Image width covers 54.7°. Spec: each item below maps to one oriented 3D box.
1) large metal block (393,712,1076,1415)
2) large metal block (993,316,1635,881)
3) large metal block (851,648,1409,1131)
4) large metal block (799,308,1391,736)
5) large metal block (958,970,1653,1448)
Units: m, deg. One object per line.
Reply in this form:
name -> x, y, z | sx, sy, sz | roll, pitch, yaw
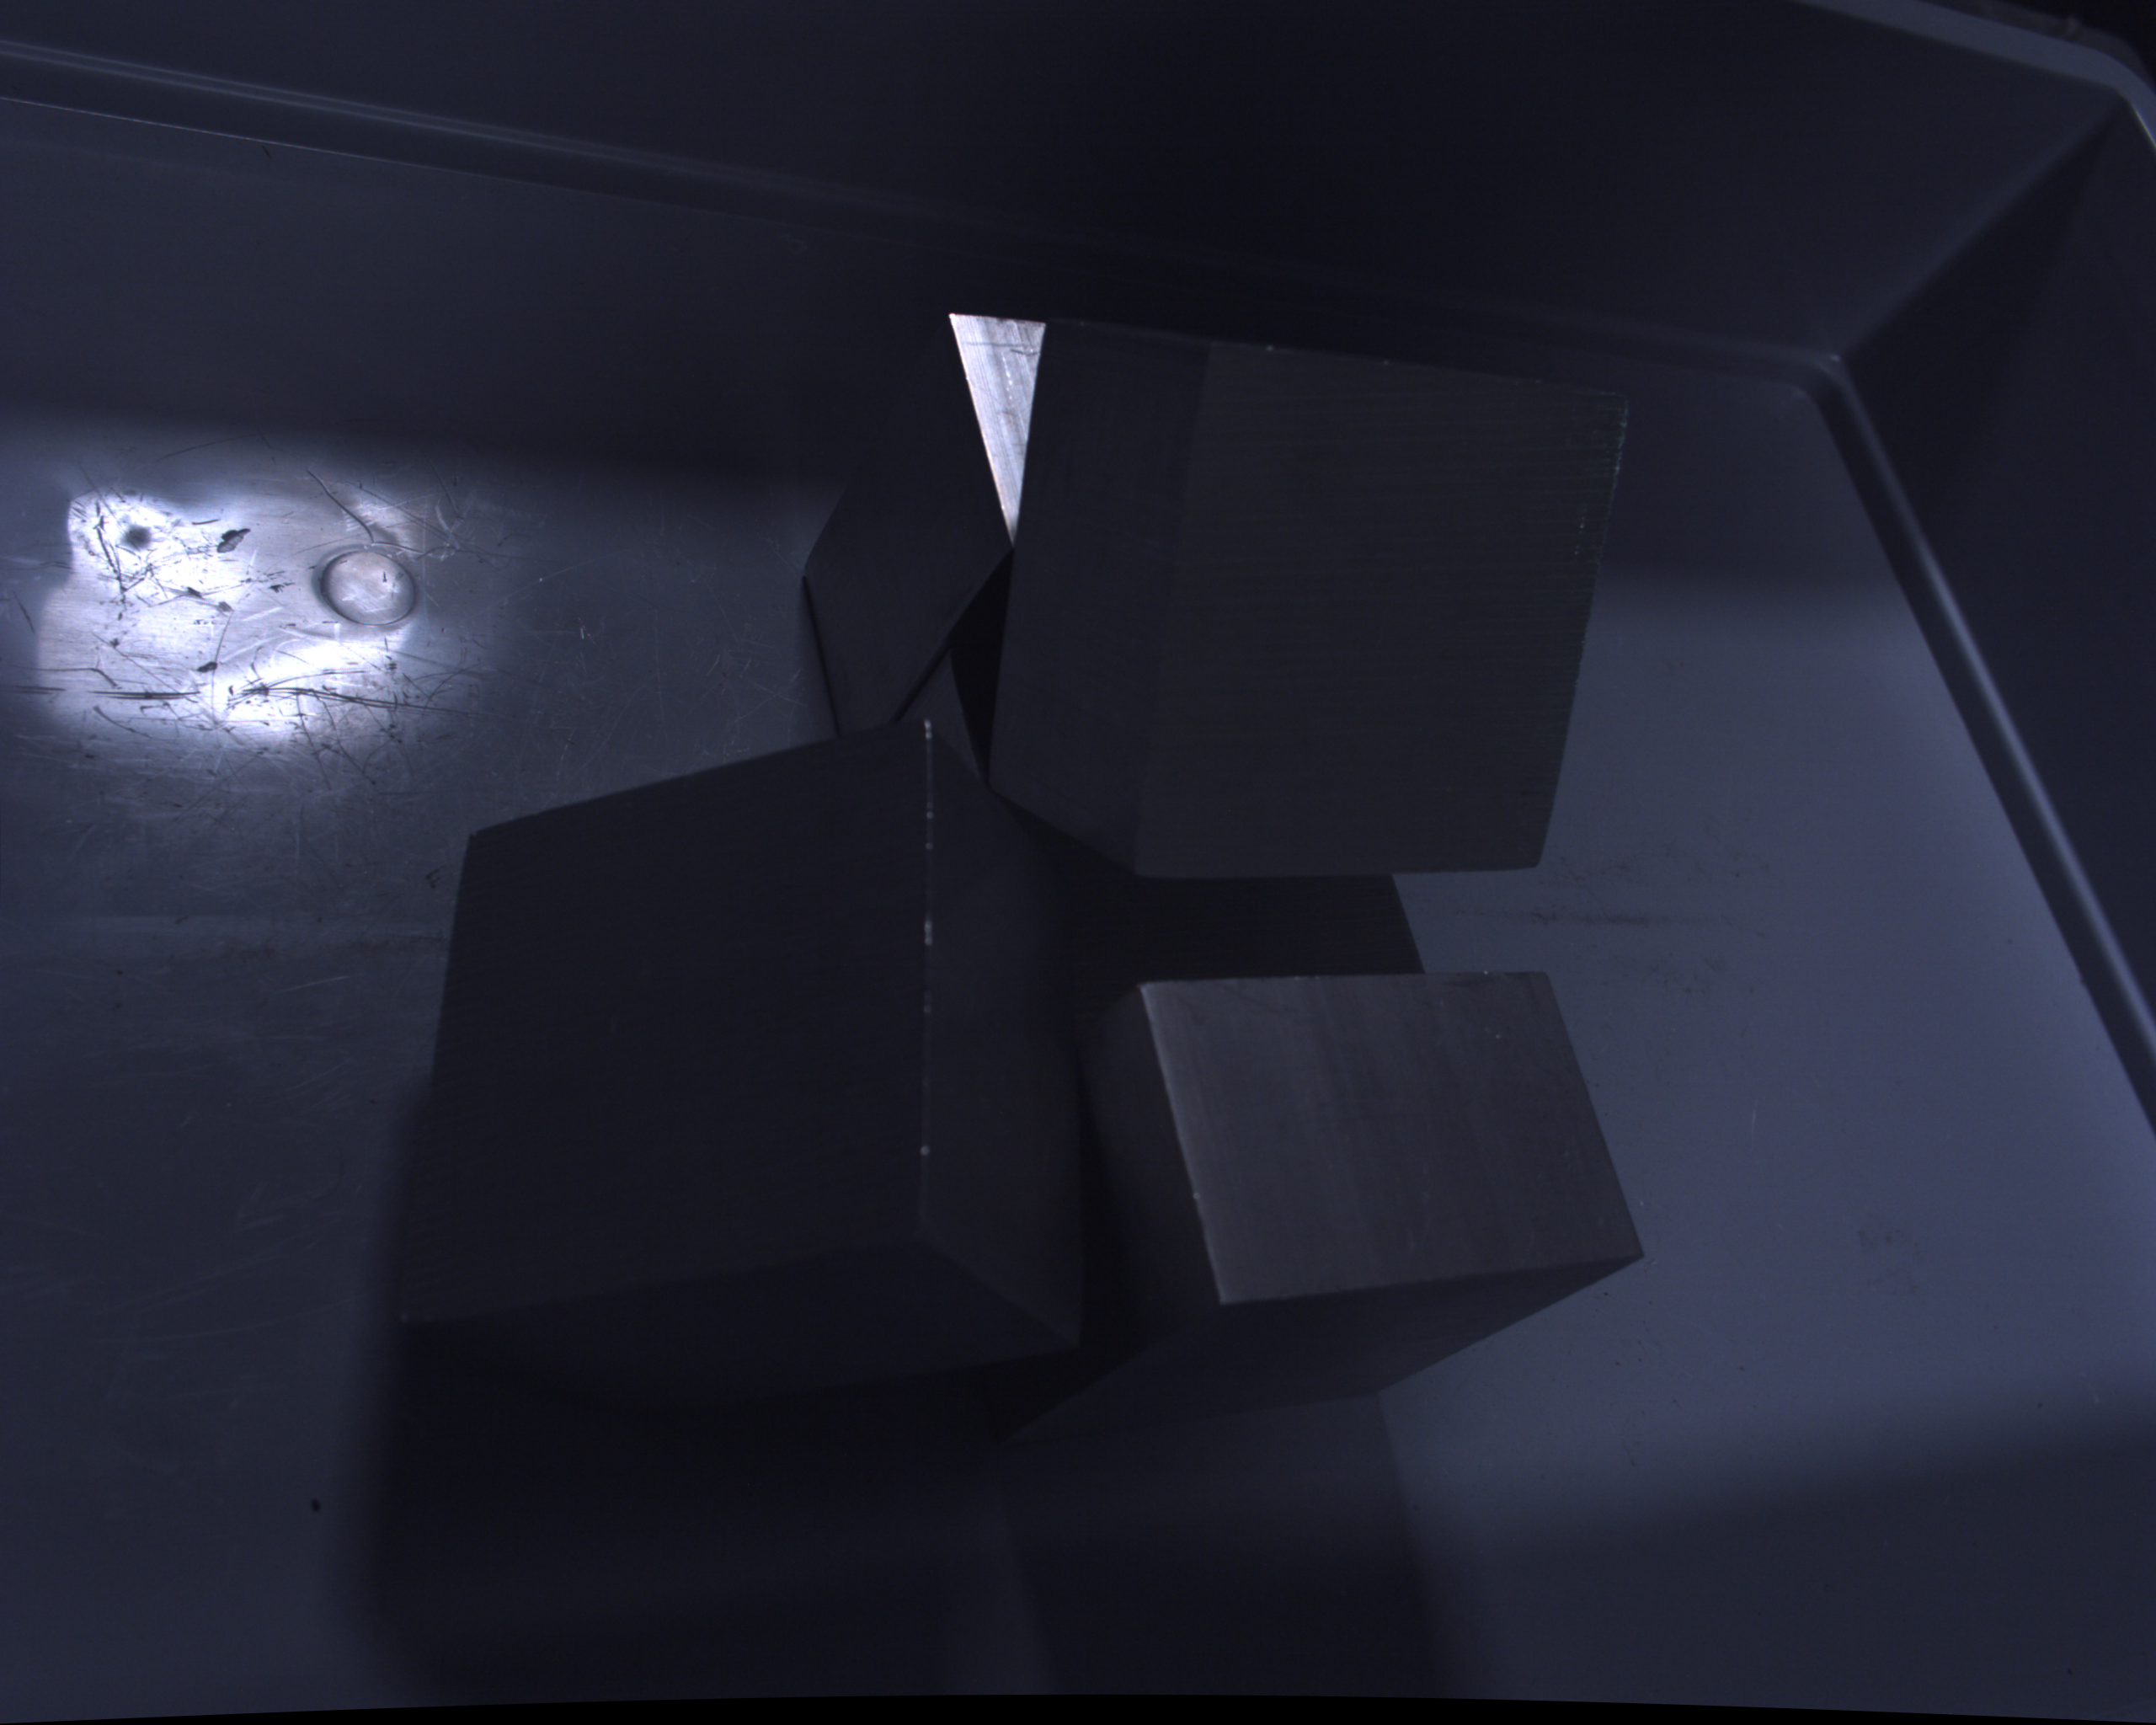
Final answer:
large metal block -> -0.048, 0.032, 0.313 | 0.050, 0.080, 0.080 | 51, 32, -54
large metal block -> 0.037, -0.043, 0.344 | 0.081, 0.079, 0.050 | -1, 17, -29
large metal block -> 0.009, 0.008, 0.391 | 0.081, 0.050, 0.080 | -1, 62, -29
large metal block -> 0.001, -0.057, 0.404 | 0.081, 0.080, 0.050 | -1, 63, -29
large metal block -> 0.033, 0.058, 0.351 | 0.081, 0.080, 0.050 | 0, 62, -29
